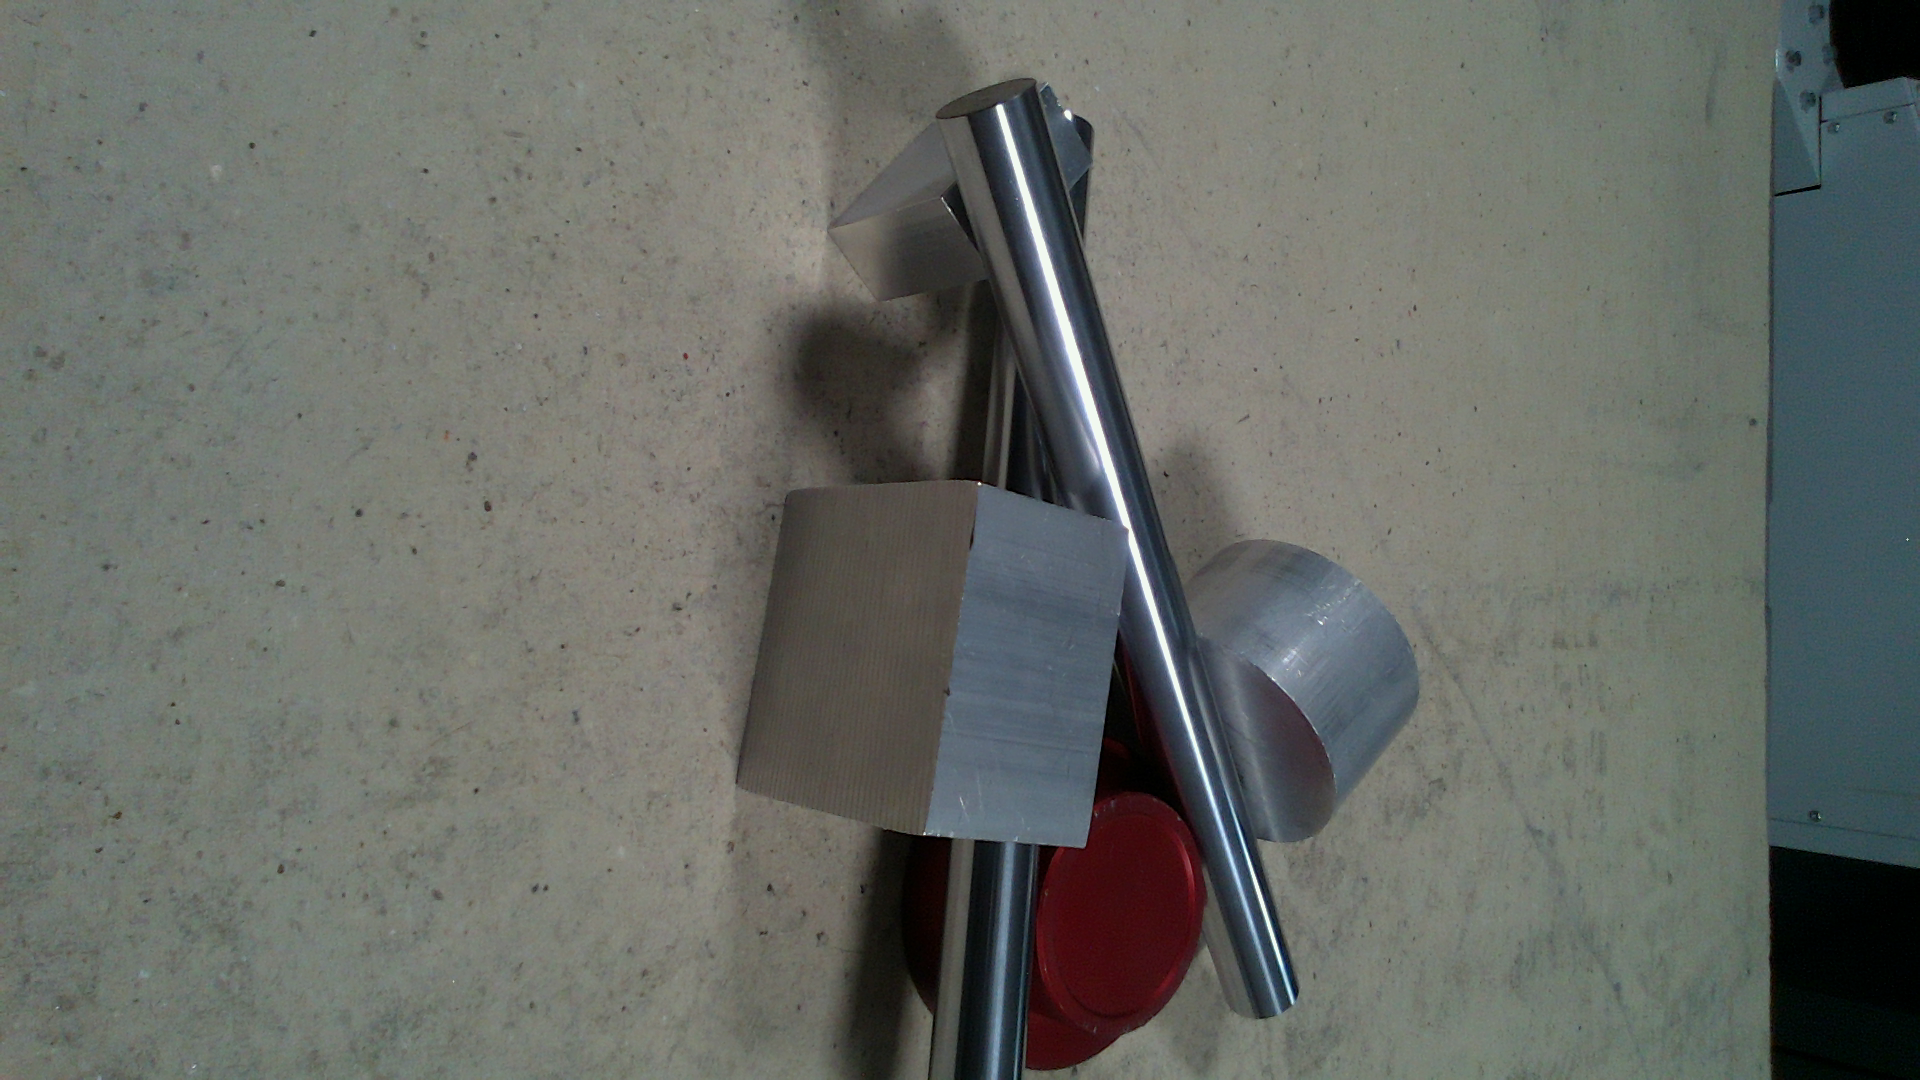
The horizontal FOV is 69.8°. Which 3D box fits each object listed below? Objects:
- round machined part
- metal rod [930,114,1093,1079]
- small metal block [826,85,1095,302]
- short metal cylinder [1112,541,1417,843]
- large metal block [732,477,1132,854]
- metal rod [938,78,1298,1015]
[{"bbox_3d":[0.034,0.107,0.407,0.098,0.042,0.098,0,90,-40],"label":"round machined part"},{"bbox_3d":[0.015,0.023,0.382,0.025,0.025,0.300,15,74,-39],"label":"metal rod"},{"bbox_3d":[0.000,-0.093,0.372,0.050,0.050,0.025,-52,120,-27],"label":"small metal block"},{"bbox_3d":[0.094,0.047,0.433,0.050,0.080,0.080,-39,114,-33],"label":"short metal cylinder"},{"bbox_3d":[-0.009,0.030,0.347,0.050,0.080,0.080,15,80,-39],"label":"large metal block"},{"bbox_3d":[0.053,0.022,0.389,0.025,0.025,0.300,-39,123,-33],"label":"metal rod"}]
